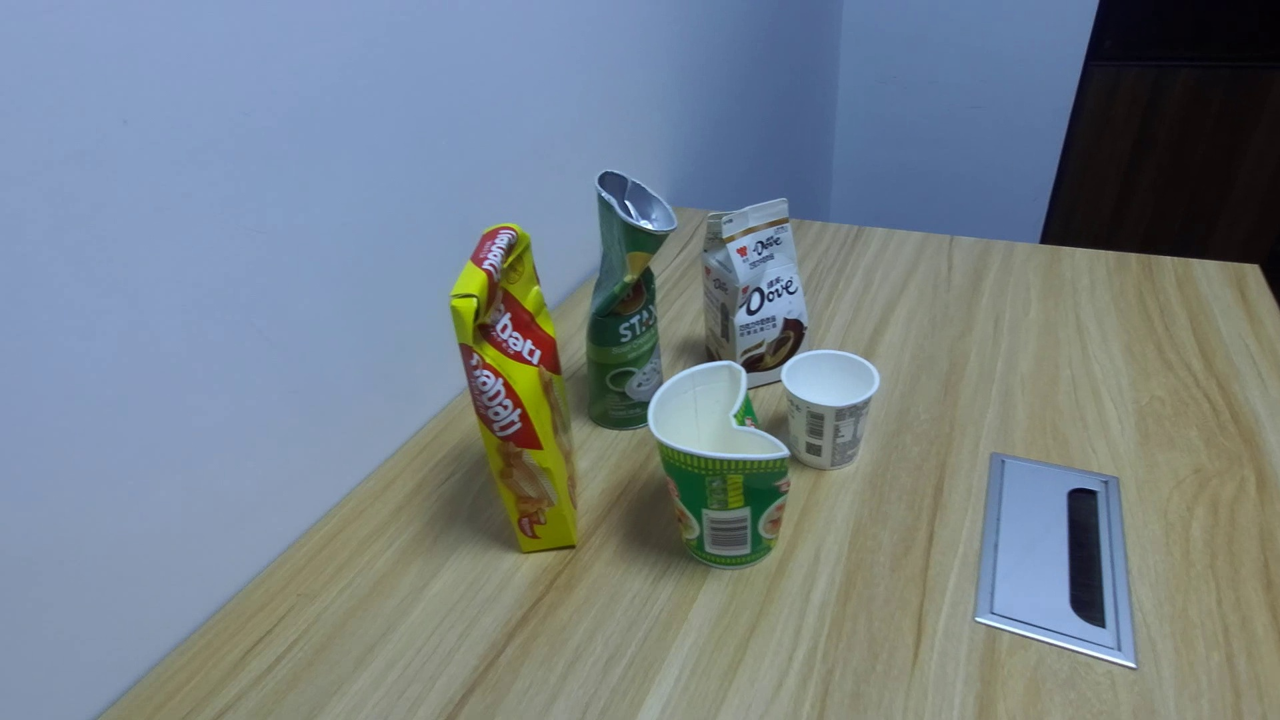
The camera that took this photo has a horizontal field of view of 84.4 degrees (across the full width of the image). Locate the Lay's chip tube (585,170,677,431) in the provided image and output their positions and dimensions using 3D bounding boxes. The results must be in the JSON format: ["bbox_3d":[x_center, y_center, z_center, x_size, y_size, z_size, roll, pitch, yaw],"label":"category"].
[{"bbox_3d":[-0.007,-0.040,0.561,0.071,0.199,0.079,9,36,9],"label":"Lay's chip tube"}]

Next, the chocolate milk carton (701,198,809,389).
[{"bbox_3d":[0.102,-0.061,0.609,0.084,0.155,0.073,-13,34,-12],"label":"chocolate milk carton"}]

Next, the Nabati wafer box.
[{"bbox_3d":[-0.076,0.024,0.466,0.042,0.205,0.113,-7,34,2],"label":"Nabati wafer box"}]

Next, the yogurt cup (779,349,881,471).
[{"bbox_3d":[0.140,0.039,0.530,0.072,0.068,0.072,-4,34,3],"label":"yogurt cup"}]

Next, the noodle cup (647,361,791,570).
[{"bbox_3d":[0.053,0.070,0.455,0.087,0.110,0.094,2,35,12],"label":"noodle cup"}]
